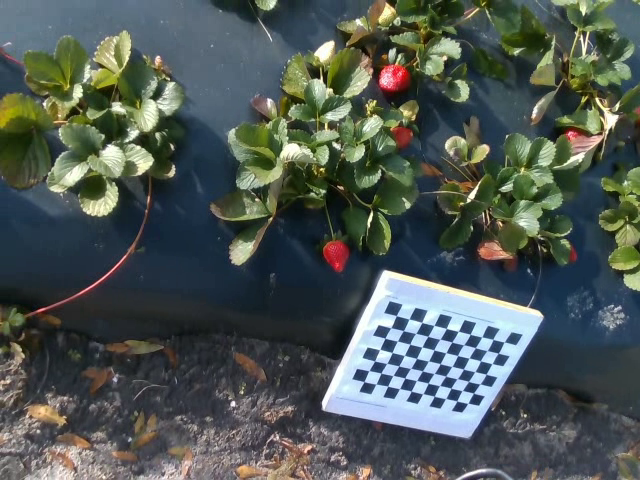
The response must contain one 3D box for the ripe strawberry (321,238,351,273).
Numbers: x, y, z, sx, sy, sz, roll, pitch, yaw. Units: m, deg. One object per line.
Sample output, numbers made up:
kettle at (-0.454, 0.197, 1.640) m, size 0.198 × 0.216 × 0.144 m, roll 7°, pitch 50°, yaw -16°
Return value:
ripe strawberry at (0.023, 0.021, 0.763) m, size 0.041 × 0.047 × 0.041 m, roll -7°, pitch -29°, yaw 4°
